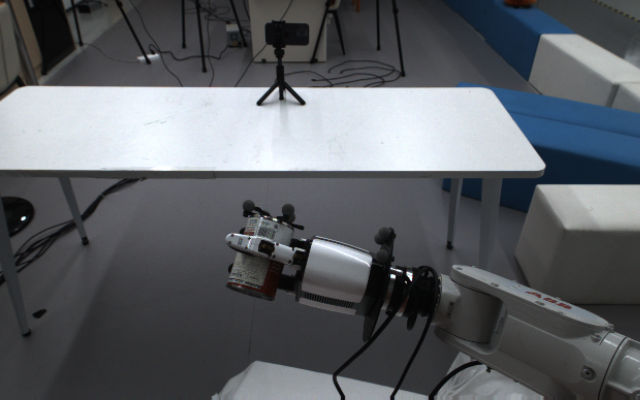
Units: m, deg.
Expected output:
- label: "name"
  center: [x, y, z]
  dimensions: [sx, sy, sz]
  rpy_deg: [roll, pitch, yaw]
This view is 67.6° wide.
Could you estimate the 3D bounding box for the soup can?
- label: "soup can"
  center: [-0.079, 0.080, 0.659]
  dimensions: [0.067, 0.067, 0.101]
  rpy_deg: [11, 72, 13]
